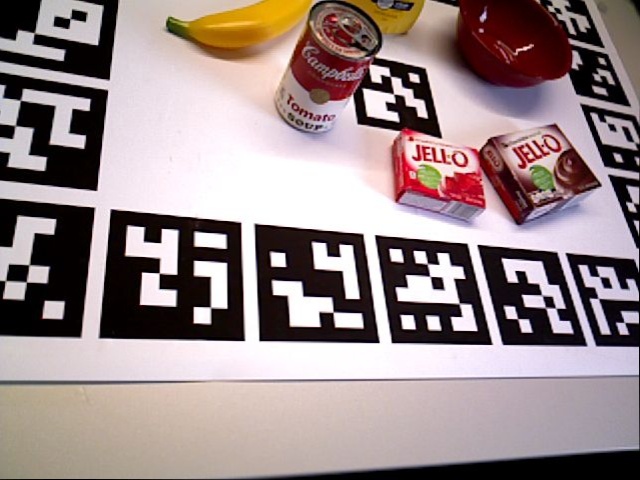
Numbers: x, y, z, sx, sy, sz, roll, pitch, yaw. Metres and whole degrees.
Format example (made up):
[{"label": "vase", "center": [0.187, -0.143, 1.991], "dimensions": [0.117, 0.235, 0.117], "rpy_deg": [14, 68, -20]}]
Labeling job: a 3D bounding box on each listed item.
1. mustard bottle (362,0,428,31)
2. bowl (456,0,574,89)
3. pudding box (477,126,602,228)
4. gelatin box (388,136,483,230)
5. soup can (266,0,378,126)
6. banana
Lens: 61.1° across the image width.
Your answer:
[{"label": "mustard bottle", "center": [0.096, -0.308, 0.545], "dimensions": [0.095, 0.196, 0.058], "rpy_deg": [5, 58, -21]}, {"label": "bowl", "center": [0.225, -0.240, 0.664], "dimensions": [0.160, 0.056, 0.159], "rpy_deg": [9, 60, -17]}, {"label": "pudding box", "center": [0.236, -0.071, 0.584], "dimensions": [0.111, 0.039, 0.090], "rpy_deg": [-20, 78, -30]}, {"label": "gelatin box", "center": [0.112, -0.056, 0.529], "dimensions": [0.088, 0.031, 0.072], "rpy_deg": [11, 63, -17]}, {"label": "soup can", "center": [-0.002, -0.160, 0.482], "dimensions": [0.067, 0.104, 0.067], "rpy_deg": [11, 57, -19]}, {"label": "banana", "center": [-0.067, -0.243, 0.550], "dimensions": [0.074, 0.040, 0.193], "rpy_deg": [35, 55, 11]}]
